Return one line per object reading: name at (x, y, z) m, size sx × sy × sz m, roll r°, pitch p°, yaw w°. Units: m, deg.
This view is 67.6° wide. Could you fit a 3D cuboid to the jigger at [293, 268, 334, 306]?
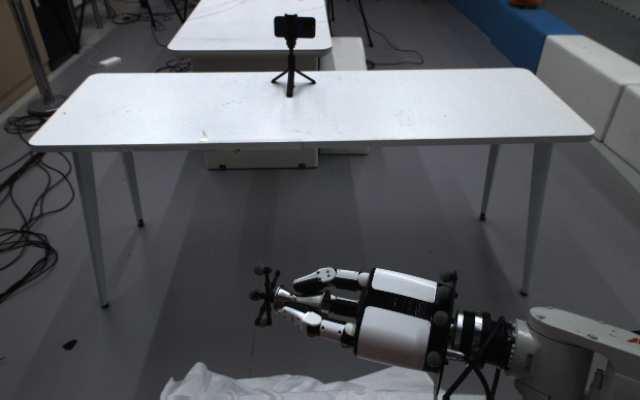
jigger at (-0.017, 0.135, 0.658) m, size 0.071 × 0.043 × 0.043 m, roll 5°, pitch 34°, yaw 18°
